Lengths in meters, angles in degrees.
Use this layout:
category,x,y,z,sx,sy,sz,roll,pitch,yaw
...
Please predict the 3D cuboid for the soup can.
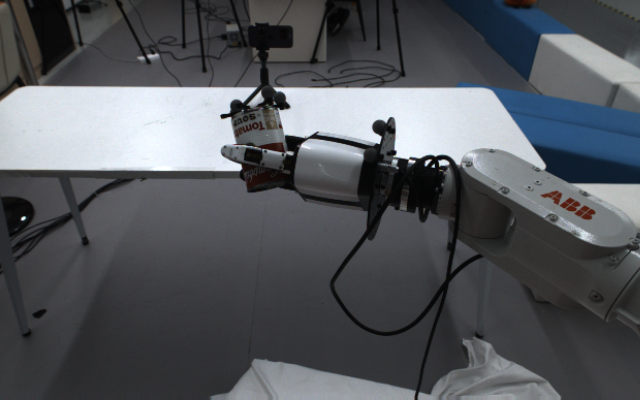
category,x,y,z,sx,sy,sz,roll,pitch,yaw
soup can,-0.076,-0.066,0.654,0.067,0.101,0.067,-14,-2,-1
